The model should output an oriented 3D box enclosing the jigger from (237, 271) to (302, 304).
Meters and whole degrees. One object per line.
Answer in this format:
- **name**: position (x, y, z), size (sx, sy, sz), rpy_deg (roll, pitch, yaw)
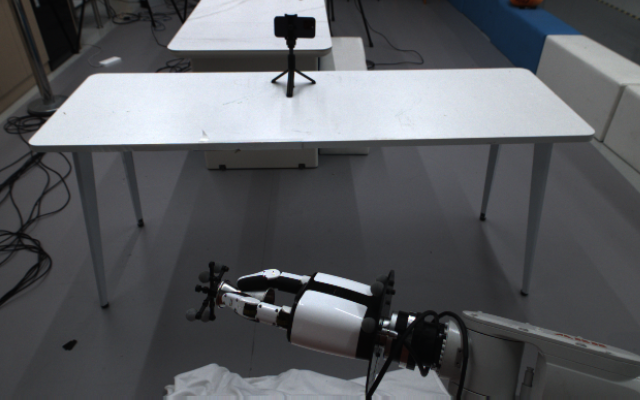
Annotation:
- **jigger**: position (-0.094, 0.129, 0.652), size (0.071, 0.043, 0.043), rpy_deg (8, 35, 16)
